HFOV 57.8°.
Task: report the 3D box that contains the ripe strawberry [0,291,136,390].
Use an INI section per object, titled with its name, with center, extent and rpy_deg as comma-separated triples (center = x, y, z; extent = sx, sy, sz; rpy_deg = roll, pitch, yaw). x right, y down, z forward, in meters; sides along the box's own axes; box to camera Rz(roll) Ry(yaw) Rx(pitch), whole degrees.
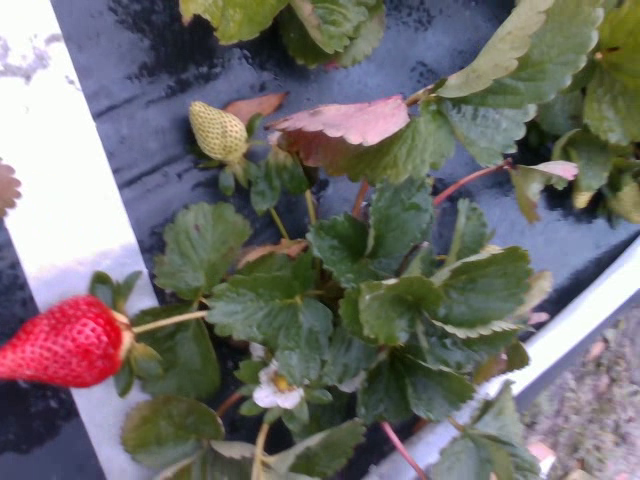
[ripe strawberry]
center = -0.098, 0.040, 0.215
extent = 0.051, 0.042, 0.037
rpy_deg = -11, 36, -42
